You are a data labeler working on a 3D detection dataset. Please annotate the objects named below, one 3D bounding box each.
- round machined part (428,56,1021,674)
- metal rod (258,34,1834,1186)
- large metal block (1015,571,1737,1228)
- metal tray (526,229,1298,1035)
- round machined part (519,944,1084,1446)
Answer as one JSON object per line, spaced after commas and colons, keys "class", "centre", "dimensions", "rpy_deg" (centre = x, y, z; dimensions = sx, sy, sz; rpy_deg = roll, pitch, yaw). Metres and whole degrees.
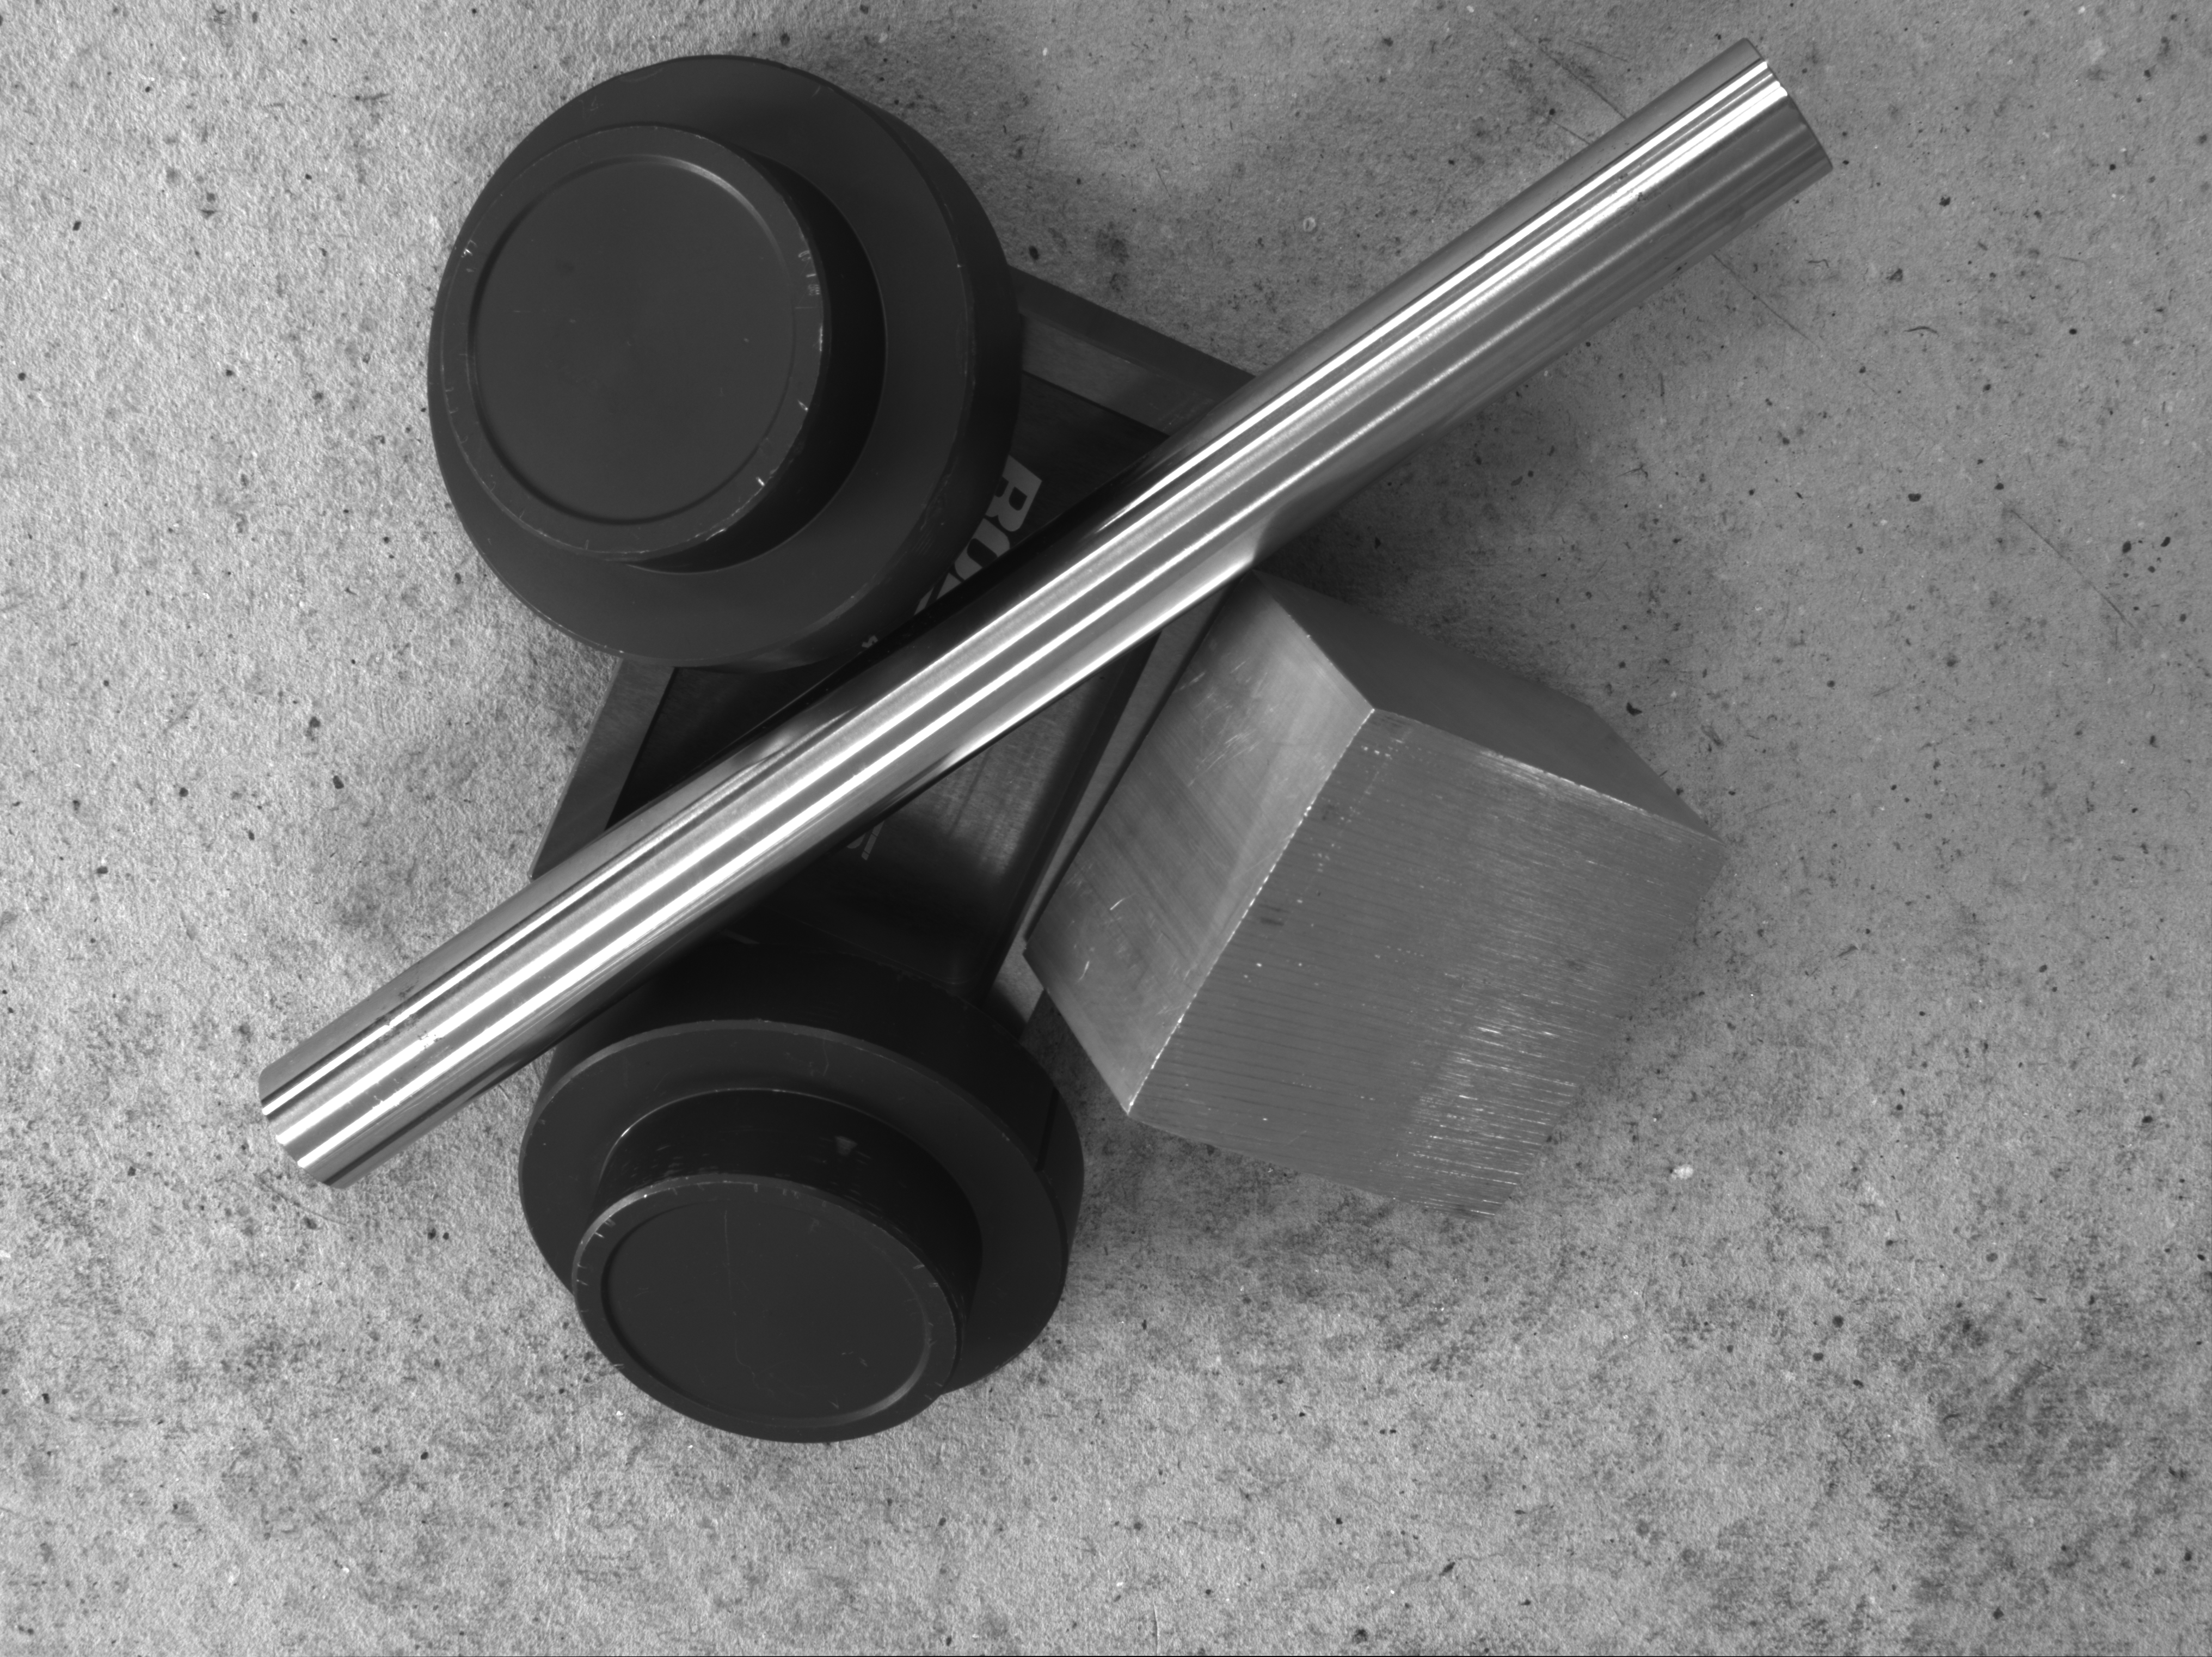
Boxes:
{"class": "round machined part", "centre": [-0.066, -0.075, 0.587], "dimensions": [0.098, 0.042, 0.098], "rpy_deg": [0, 89, 21]}
{"class": "metal rod", "centre": [-0.015, -0.031, 0.602], "dimensions": [0.300, 0.025, 0.025], "rpy_deg": [-34, 106, 11]}
{"class": "large metal block", "centre": [0.045, 0.012, 0.620], "dimensions": [0.080, 0.050, 0.080], "rpy_deg": [19, 110, -33]}
{"class": "metal tray", "centre": [-0.034, -0.031, 0.630], "dimensions": [0.090, 0.030, 0.130], "rpy_deg": [23, 108, -8]}
{"class": "round machined part", "centre": [-0.055, 0.070, 0.642], "dimensions": [0.098, 0.042, 0.098], "rpy_deg": [5, 131, 6]}
